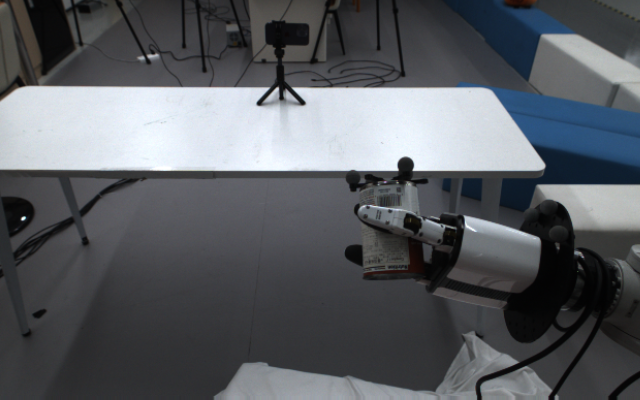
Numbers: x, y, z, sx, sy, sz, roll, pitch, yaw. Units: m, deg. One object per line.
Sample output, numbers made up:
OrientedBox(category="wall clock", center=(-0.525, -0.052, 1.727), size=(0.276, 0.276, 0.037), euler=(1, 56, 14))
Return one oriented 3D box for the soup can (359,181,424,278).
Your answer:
OrientedBox(category="soup can", center=(0.079, 0.033, 0.534), size=(0.067, 0.067, 0.101), euler=(0, 74, -3))
